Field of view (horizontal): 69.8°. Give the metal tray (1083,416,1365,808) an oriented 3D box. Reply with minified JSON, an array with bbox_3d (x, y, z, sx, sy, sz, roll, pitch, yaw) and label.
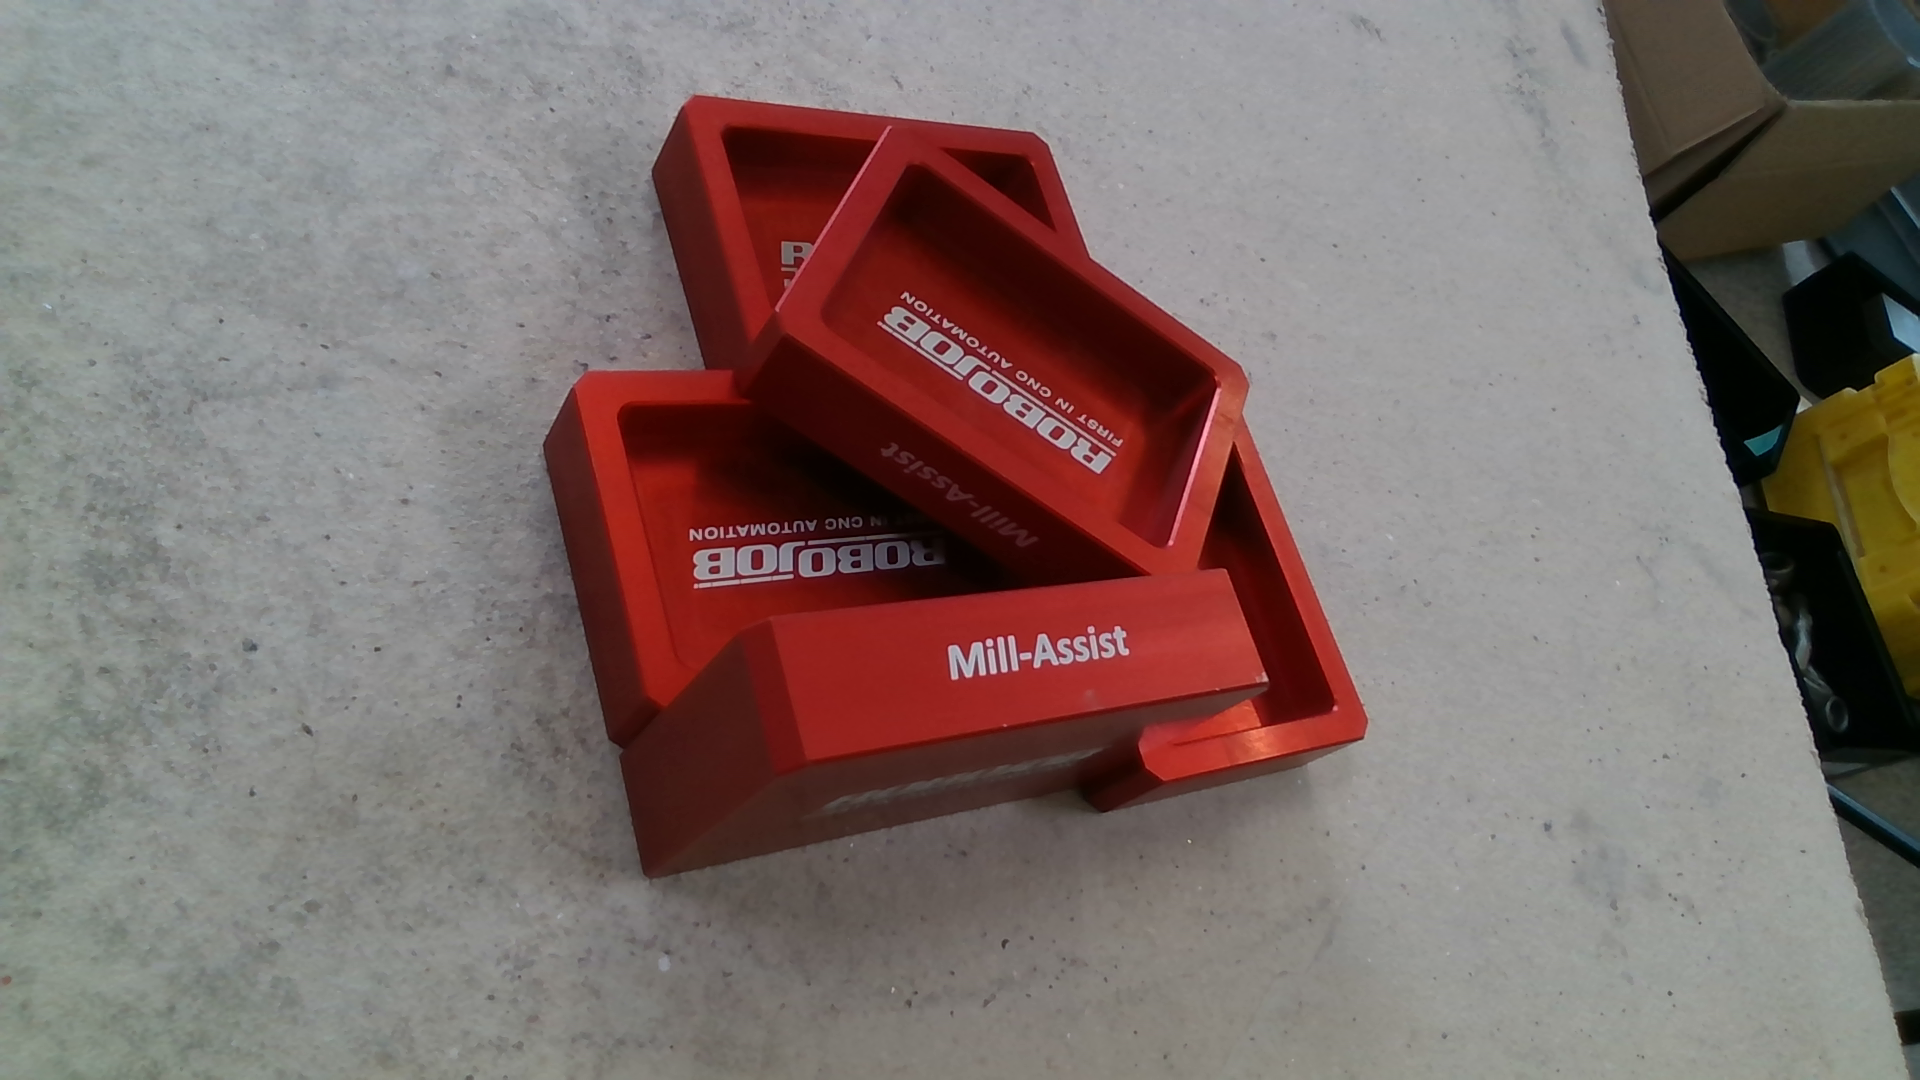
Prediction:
[{"bbox_3d":[0.062,0.009,0.424,0.090,0.030,0.130,-5,67,-33],"label":"metal tray"}]

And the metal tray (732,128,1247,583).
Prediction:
[{"bbox_3d":[0.013,-0.046,0.385,0.130,0.030,0.090,33,52,-12],"label":"metal tray"}]

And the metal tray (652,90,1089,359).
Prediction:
[{"bbox_3d":[-0.020,-0.086,0.422,0.130,0.030,0.090,-5,68,-34],"label":"metal tray"}]

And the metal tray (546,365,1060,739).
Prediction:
[{"bbox_3d":[-0.034,-0.001,0.367,0.130,0.030,0.090,-6,68,-33],"label":"metal tray"}]

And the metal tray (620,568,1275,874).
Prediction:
[{"bbox_3d":[-0.003,0.042,0.324,0.130,0.090,0.030,-4,68,-33],"label":"metal tray"}]
